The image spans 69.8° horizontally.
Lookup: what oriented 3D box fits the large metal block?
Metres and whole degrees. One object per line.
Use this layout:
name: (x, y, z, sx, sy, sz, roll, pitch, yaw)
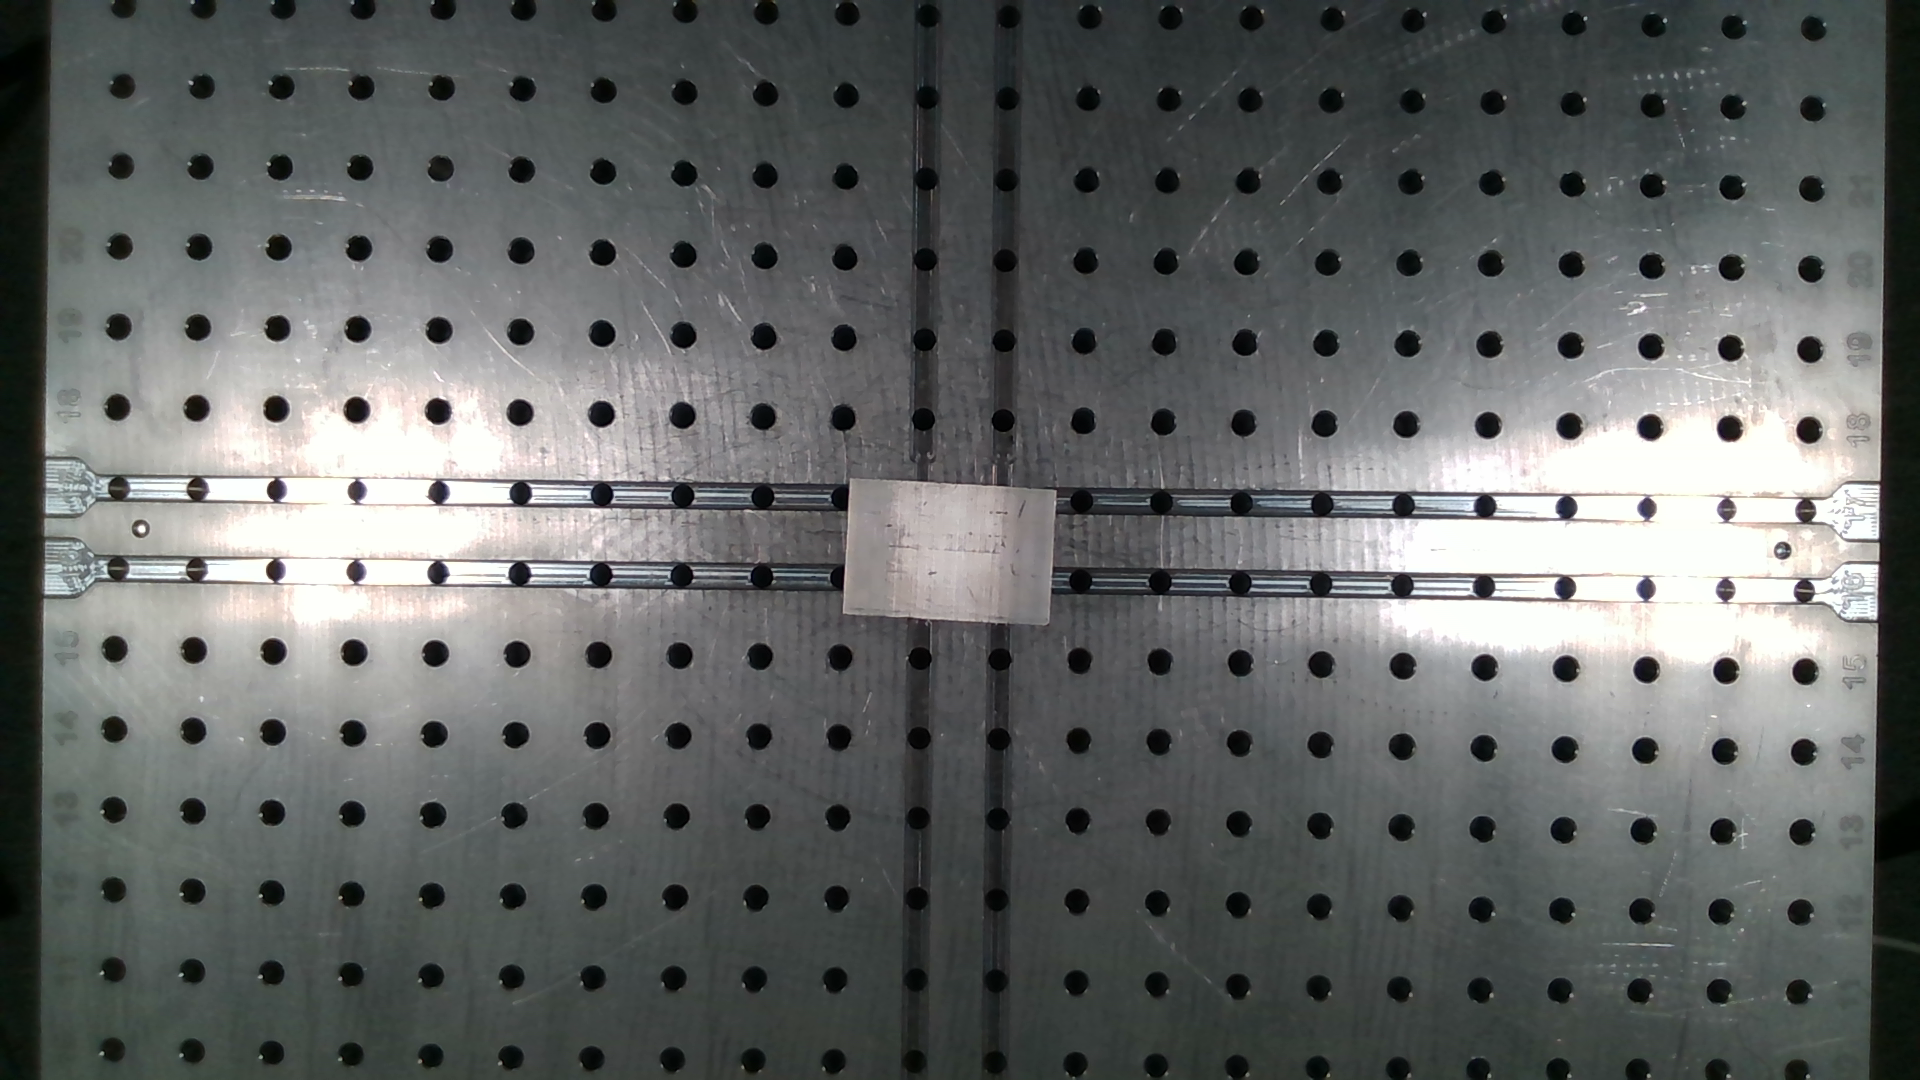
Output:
large metal block: (-0.005, 0.004, 0.561, 0.080, 0.080, 0.050, 3, 90, 0)
